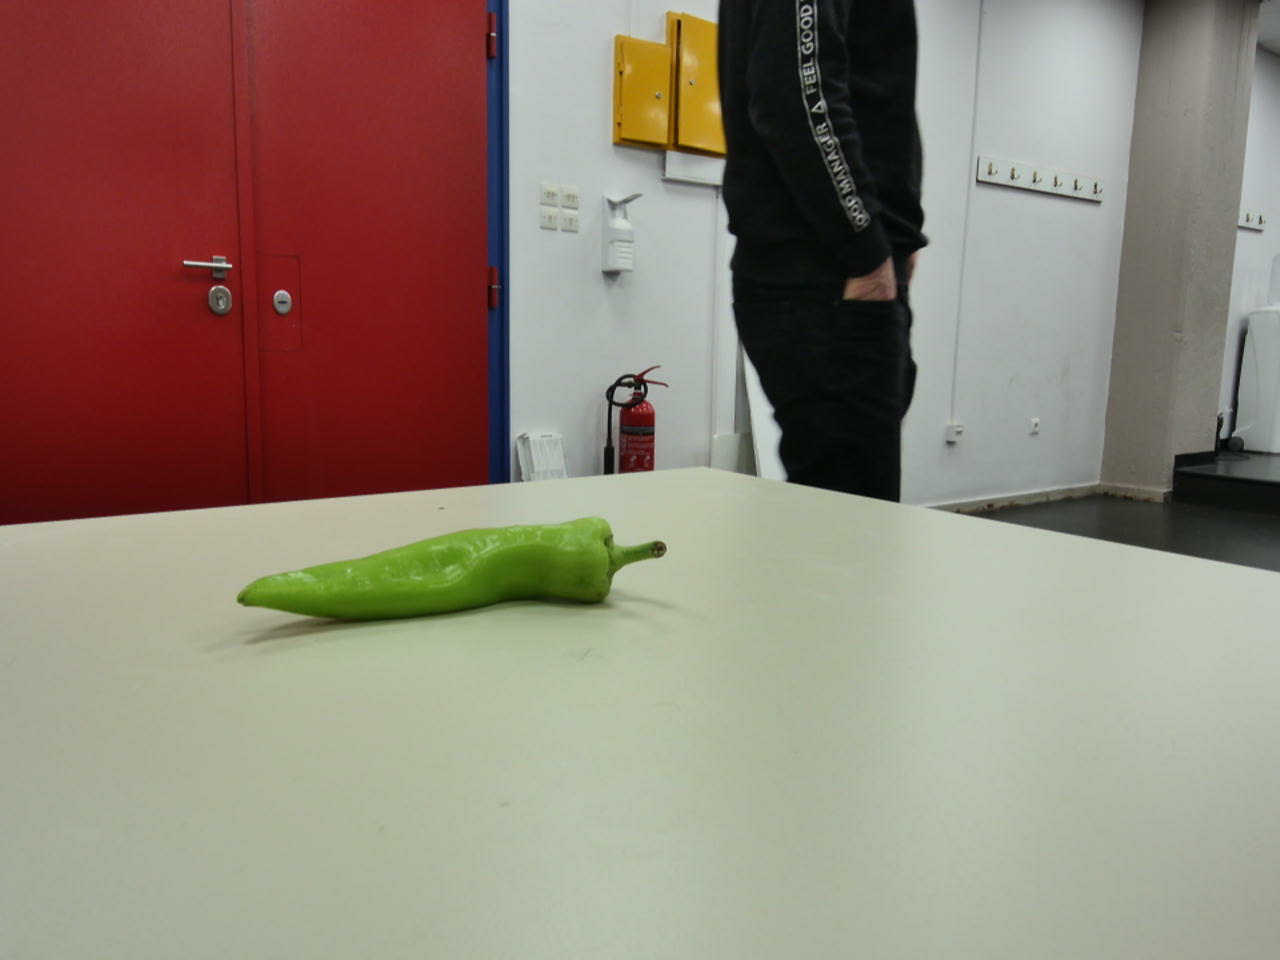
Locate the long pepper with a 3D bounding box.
[{"bbox_3d":[-0.091,0.045,0.510,0.204,0.045,0.065,-3,7,-21],"label":"long pepper"}]
